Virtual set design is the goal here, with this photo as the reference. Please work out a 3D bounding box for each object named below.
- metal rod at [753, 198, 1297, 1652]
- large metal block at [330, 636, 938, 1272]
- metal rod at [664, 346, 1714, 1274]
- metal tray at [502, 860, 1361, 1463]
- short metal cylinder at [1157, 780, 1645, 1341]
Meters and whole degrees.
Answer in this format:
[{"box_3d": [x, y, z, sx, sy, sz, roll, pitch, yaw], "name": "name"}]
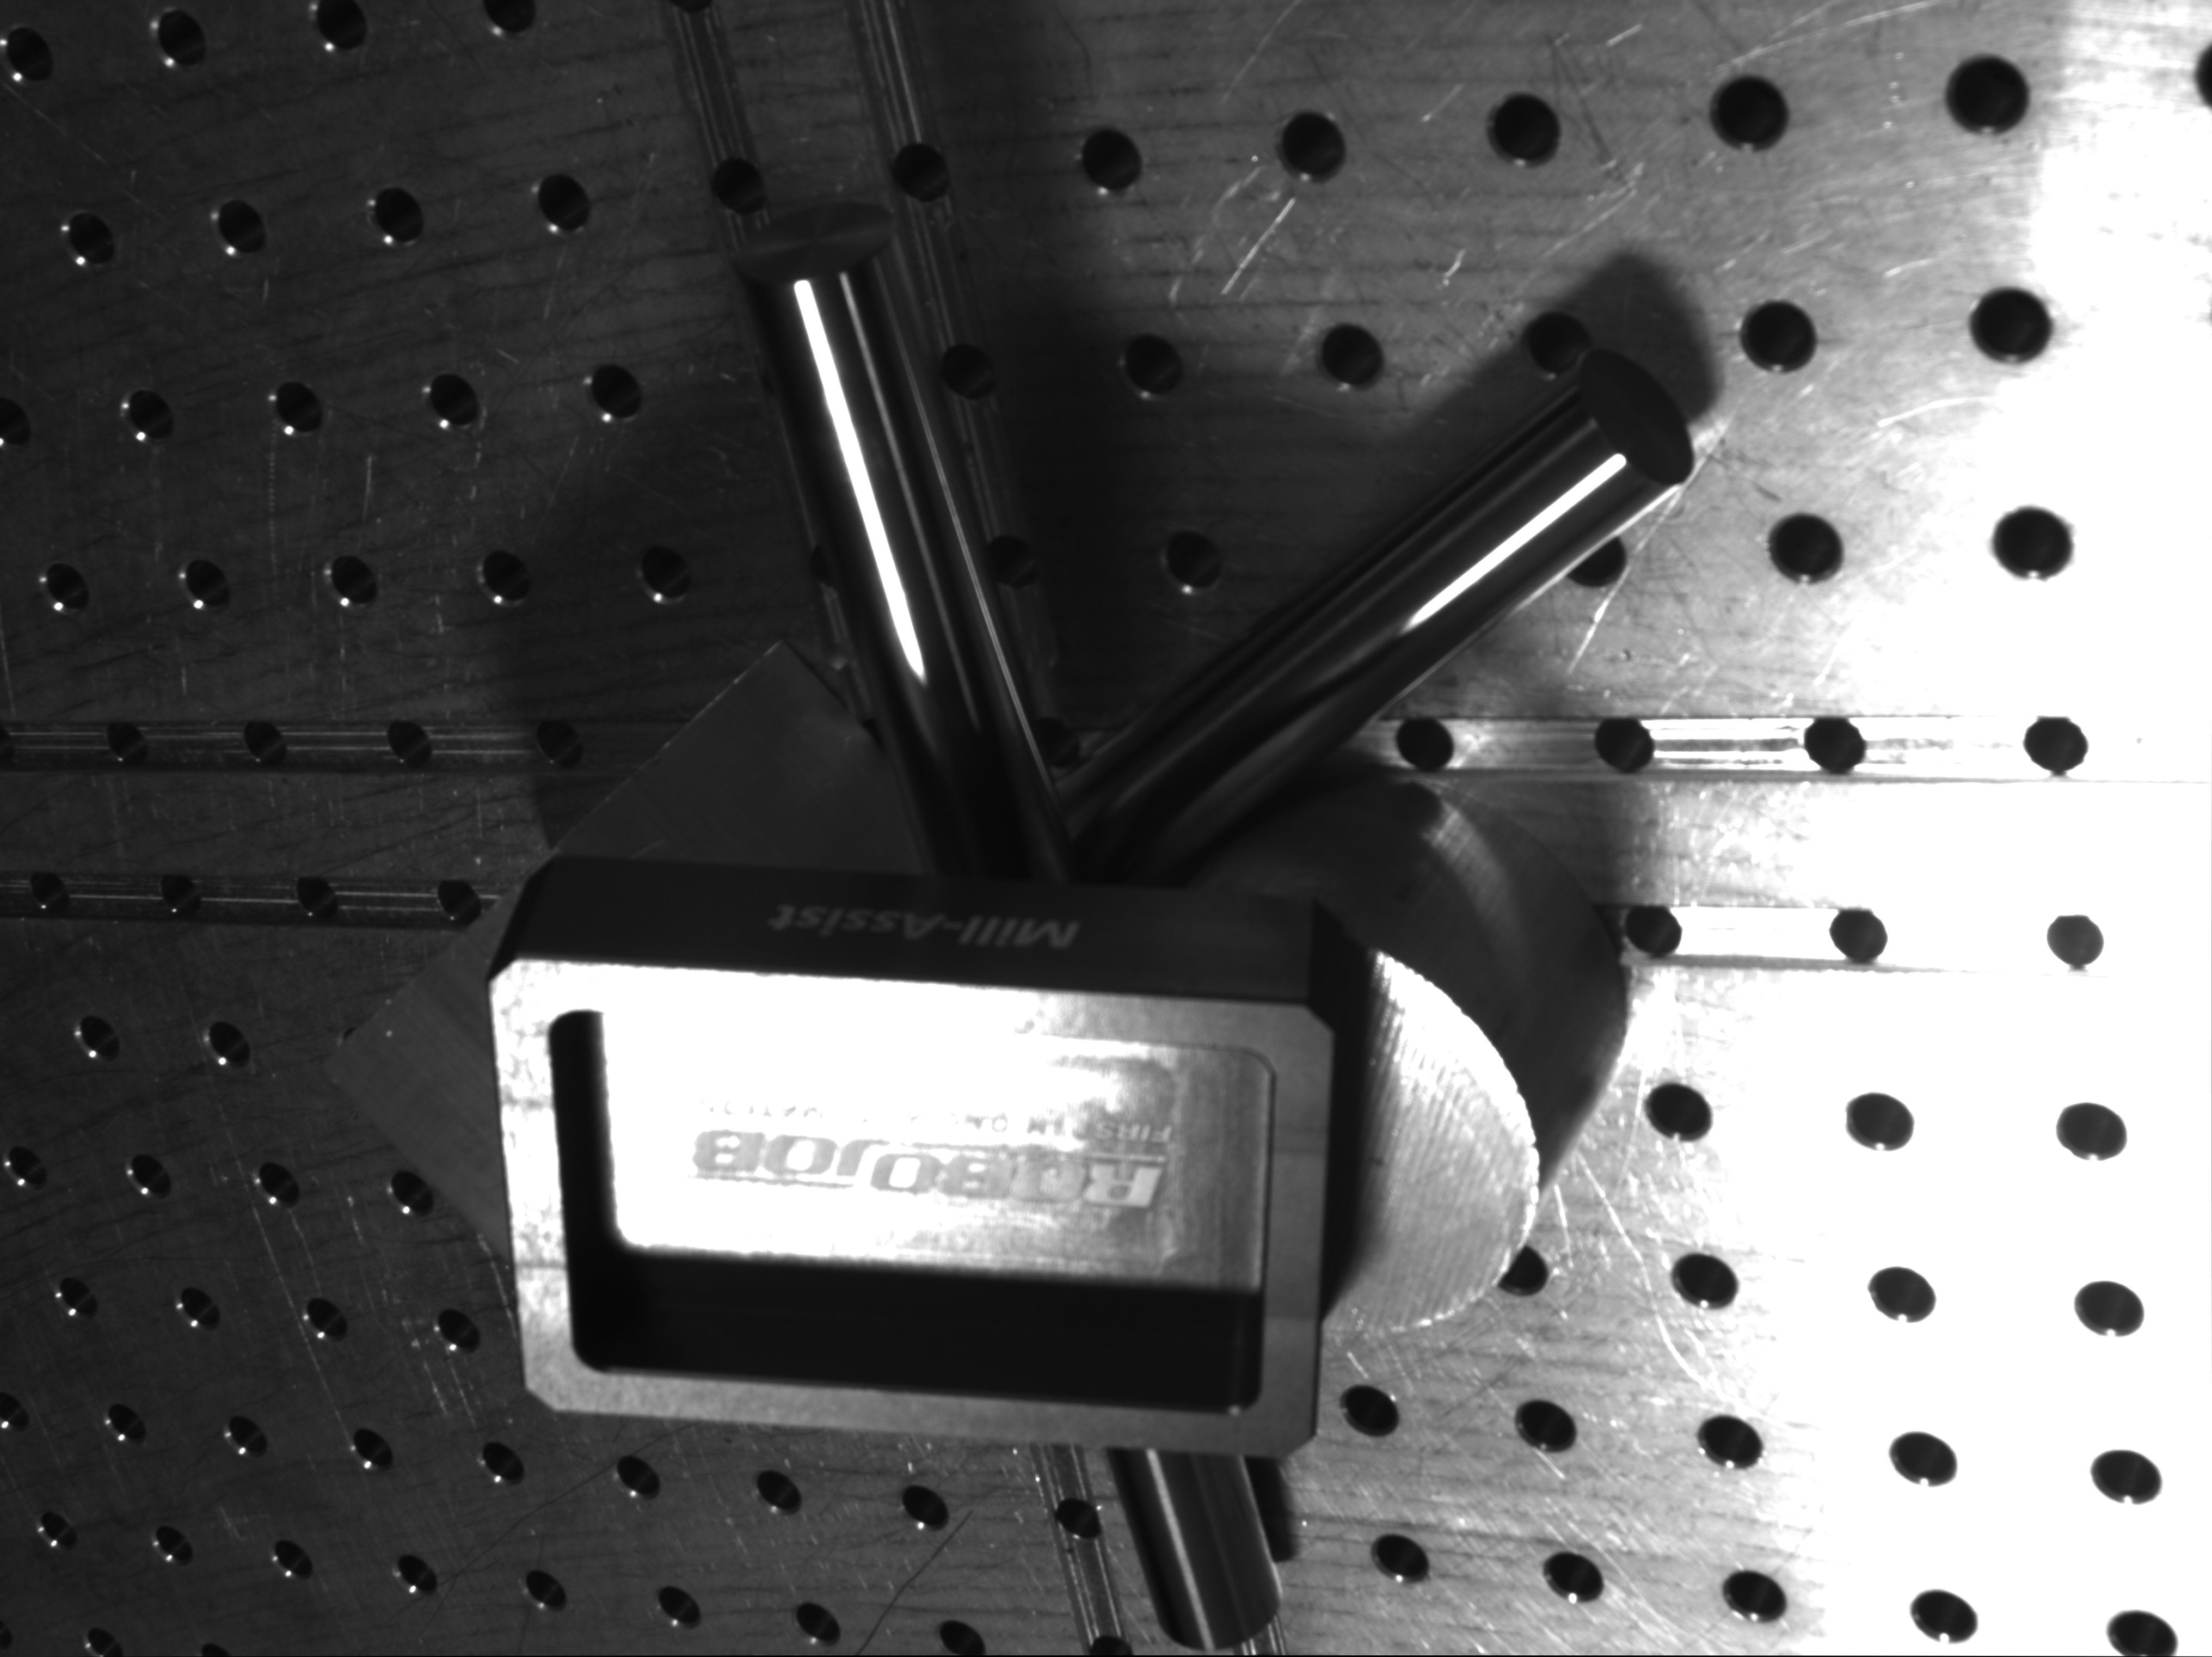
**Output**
[{"box_3d": [-0.008, 0.032, 0.628, 0.025, 0.025, 0.300, 4, 129, 25], "name": "metal rod"}, {"box_3d": [-0.078, 0.022, 0.651, 0.050, 0.080, 0.080, 47, 128, -6], "name": "large metal block"}, {"box_3d": [-0.010, 0.011, 0.646, 0.025, 0.025, 0.299, 47, 128, -6], "name": "metal rod"}, {"box_3d": [-0.026, 0.054, 0.587, 0.130, 0.030, 0.090, 3, 121, 4], "name": "metal tray"}, {"box_3d": [0.045, 0.039, 0.617, 0.080, 0.050, 0.080, 12, 123, 20], "name": "short metal cylinder"}]
